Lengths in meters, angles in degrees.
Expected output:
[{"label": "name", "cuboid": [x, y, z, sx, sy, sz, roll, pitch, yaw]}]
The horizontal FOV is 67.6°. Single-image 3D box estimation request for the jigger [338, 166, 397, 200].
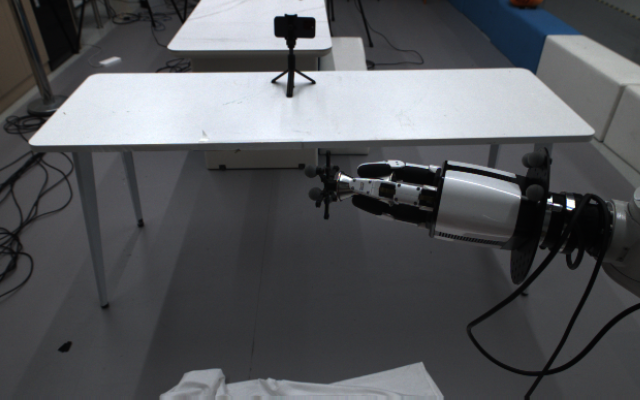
[{"label": "jigger", "cuboid": [0.066, -0.020, 0.610, 0.071, 0.043, 0.043, 3, 34, 18]}]
